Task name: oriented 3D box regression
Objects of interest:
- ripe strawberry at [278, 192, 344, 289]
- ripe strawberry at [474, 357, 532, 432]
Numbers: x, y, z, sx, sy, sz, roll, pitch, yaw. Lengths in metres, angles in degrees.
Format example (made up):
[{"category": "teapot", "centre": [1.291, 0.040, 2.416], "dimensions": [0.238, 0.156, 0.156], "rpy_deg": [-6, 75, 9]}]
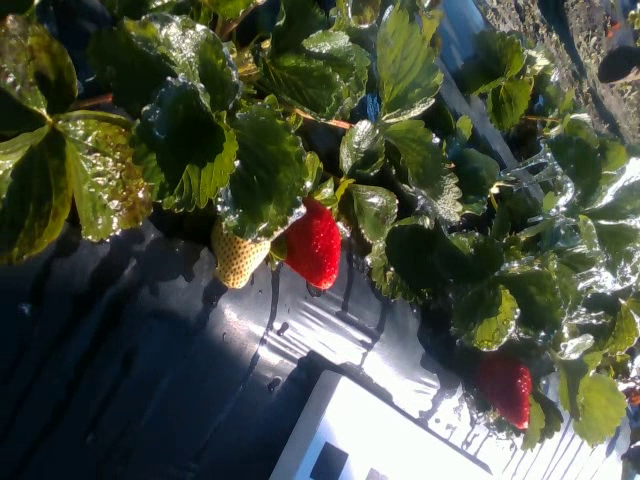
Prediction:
[{"category": "ripe strawberry", "centre": [-0.006, 0.009, 0.345], "dimensions": [0.043, 0.061, 0.046], "rpy_deg": [23, -51, -36]}, {"category": "ripe strawberry", "centre": [0.151, 0.121, 0.468], "dimensions": [0.044, 0.061, 0.049], "rpy_deg": [-30, -46, 34]}]
